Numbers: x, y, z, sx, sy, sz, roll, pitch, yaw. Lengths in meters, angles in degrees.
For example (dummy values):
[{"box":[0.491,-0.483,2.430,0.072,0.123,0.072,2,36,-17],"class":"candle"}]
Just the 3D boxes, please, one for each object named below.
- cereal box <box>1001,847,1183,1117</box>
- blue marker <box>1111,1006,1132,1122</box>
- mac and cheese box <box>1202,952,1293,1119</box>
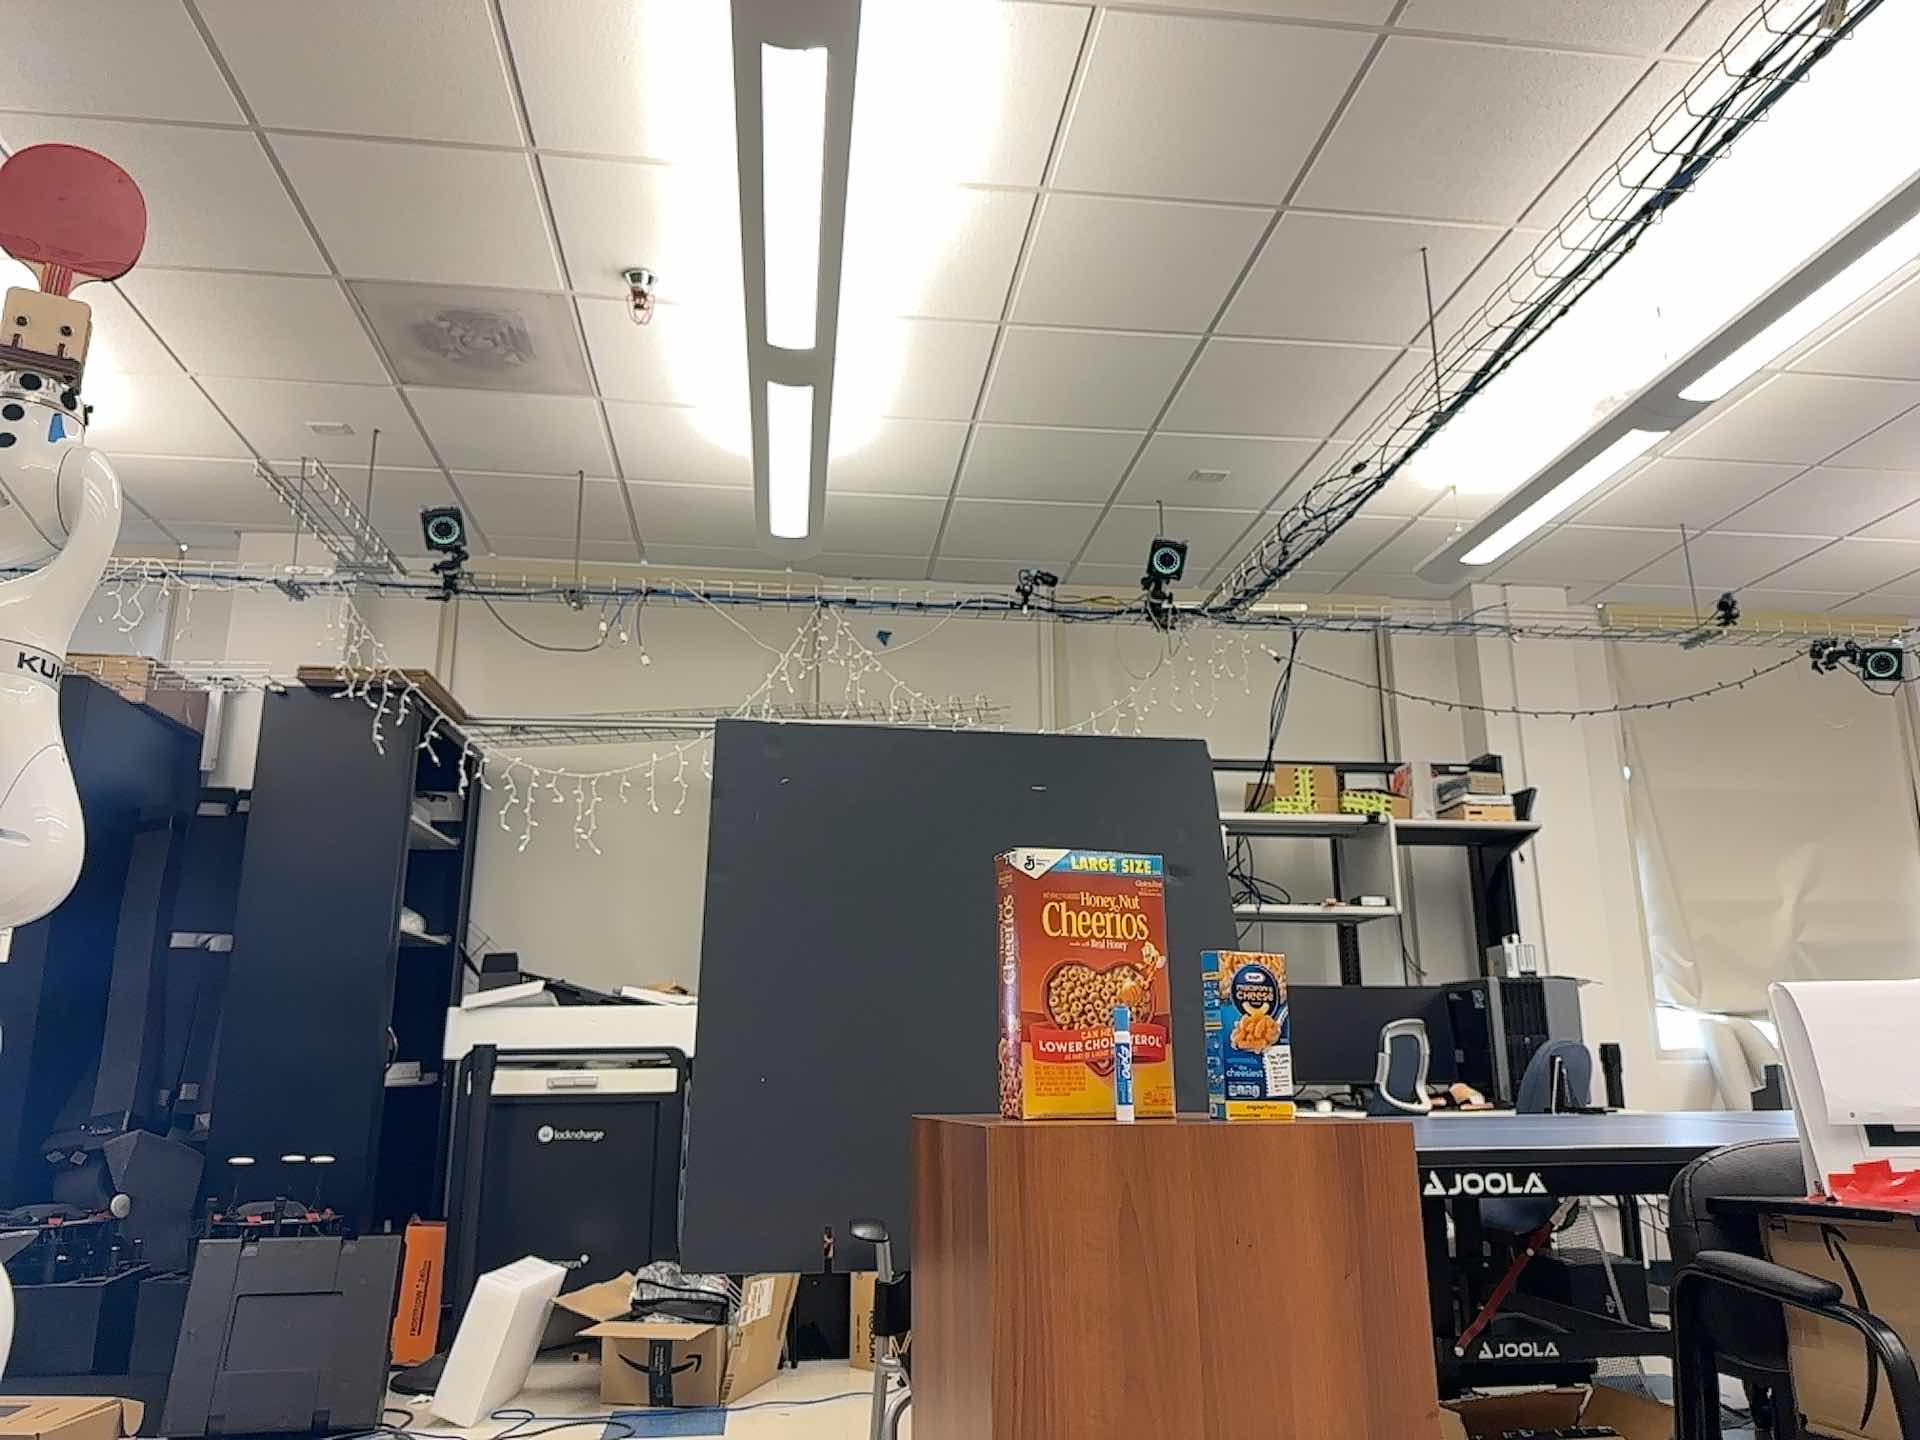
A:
[{"box":[0.153,0.307,1.591,0.195,0.297,0.065,6,-16,-19],"class":"cereal box"},{"box":[0.175,0.374,1.473,0.020,0.121,0.020,0,-13,0],"class":"blue marker"},{"box":[0.328,0.361,1.546,0.088,0.181,0.035,4,-16,-13],"class":"mac and cheese box"}]
